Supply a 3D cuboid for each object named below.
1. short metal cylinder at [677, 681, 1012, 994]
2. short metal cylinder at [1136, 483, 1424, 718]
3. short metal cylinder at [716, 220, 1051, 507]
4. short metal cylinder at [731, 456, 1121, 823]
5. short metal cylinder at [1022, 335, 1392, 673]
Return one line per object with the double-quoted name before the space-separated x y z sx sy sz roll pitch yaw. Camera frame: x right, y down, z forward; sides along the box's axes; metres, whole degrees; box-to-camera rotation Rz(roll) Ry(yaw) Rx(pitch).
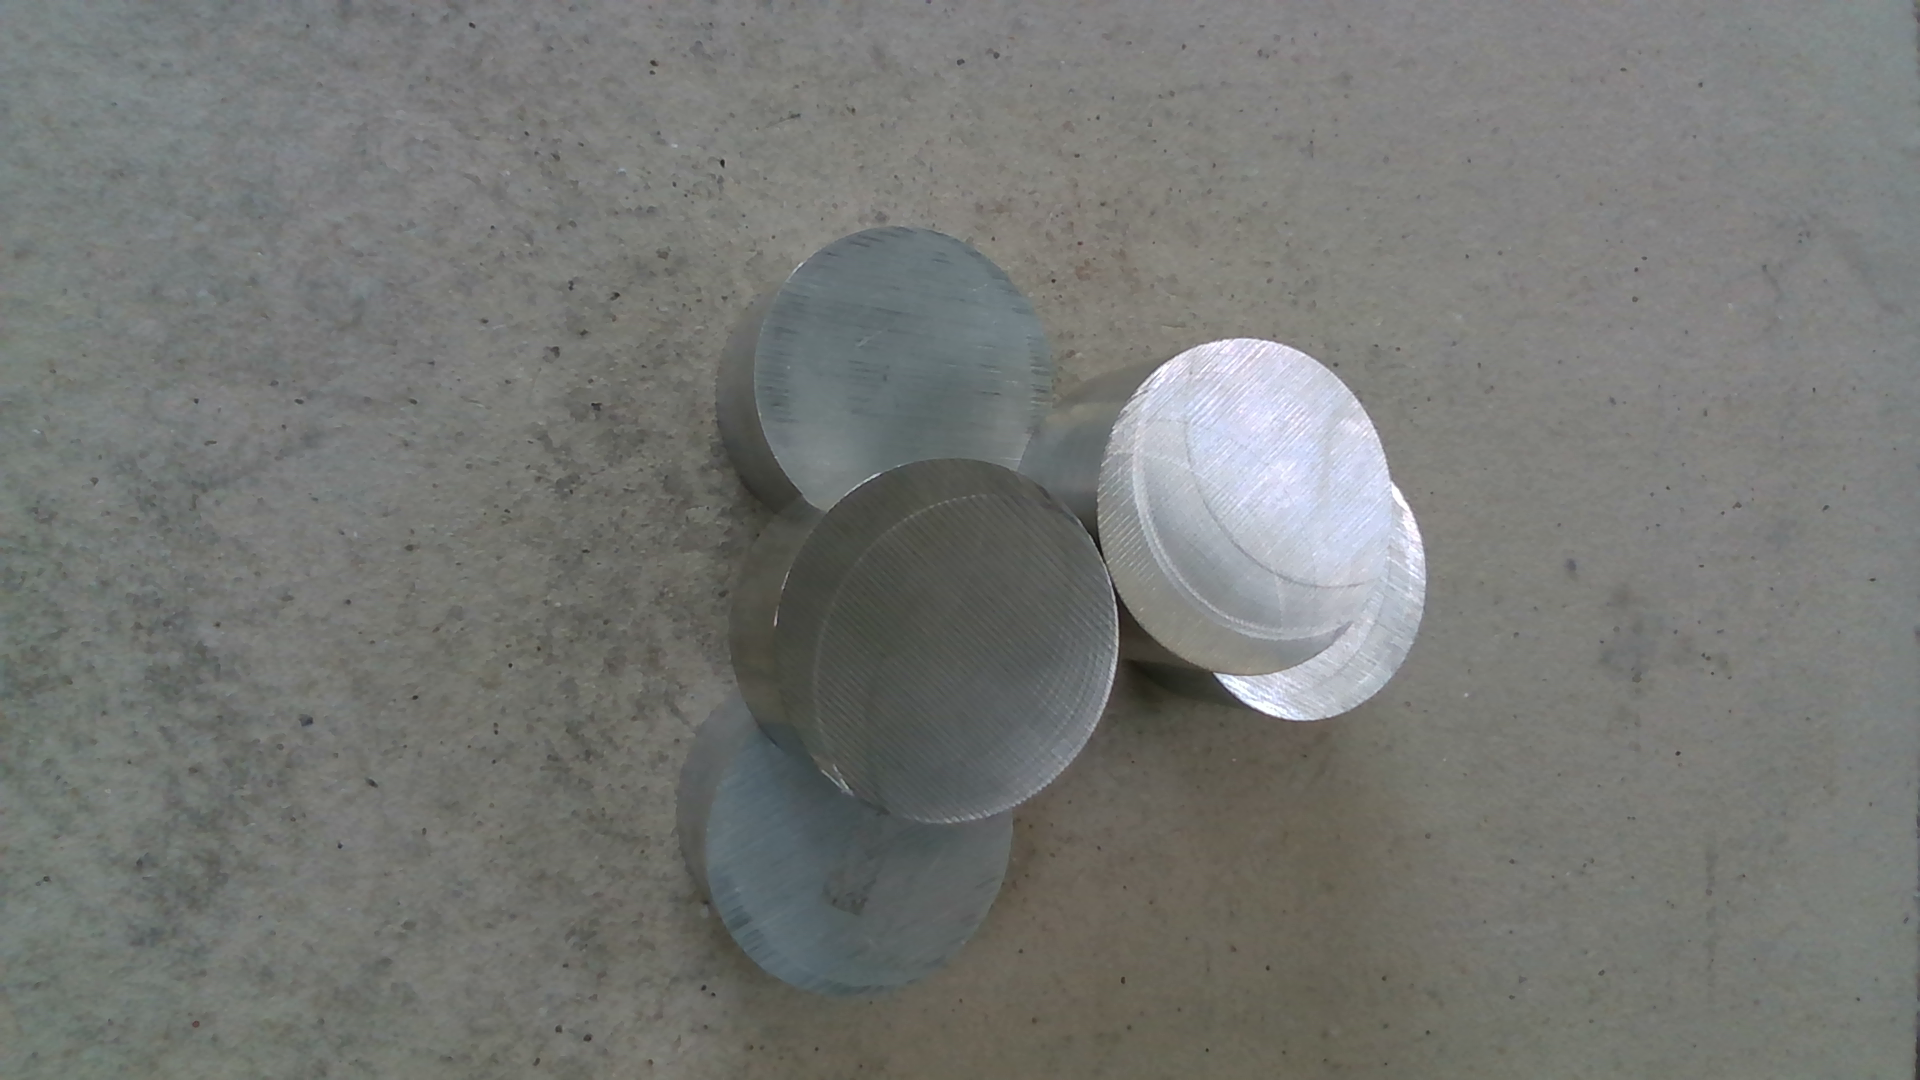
"short metal cylinder" -0.033 0.074 0.369 0.080 0.050 0.080 0 90 -20
"short metal cylinder" 0.090 0.011 0.414 0.080 0.050 0.080 0 90 -20
"short metal cylinder" -0.022 -0.041 0.373 0.080 0.050 0.080 0 90 -20
"short metal cylinder" -0.010 0.022 0.323 0.080 0.050 0.080 0 91 -20
"short metal cylinder" 0.060 -0.008 0.349 0.080 0.050 0.080 0 90 -20
